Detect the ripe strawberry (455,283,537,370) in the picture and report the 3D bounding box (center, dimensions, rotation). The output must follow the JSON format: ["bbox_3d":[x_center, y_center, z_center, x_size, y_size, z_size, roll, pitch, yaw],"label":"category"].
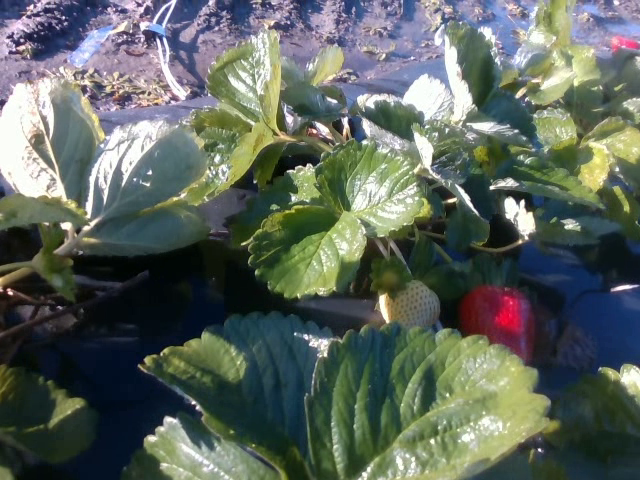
[{"bbox_3d":[0.122,0.050,0.369,0.062,0.040,0.080,42,18,-16],"label":"ripe strawberry"}]
